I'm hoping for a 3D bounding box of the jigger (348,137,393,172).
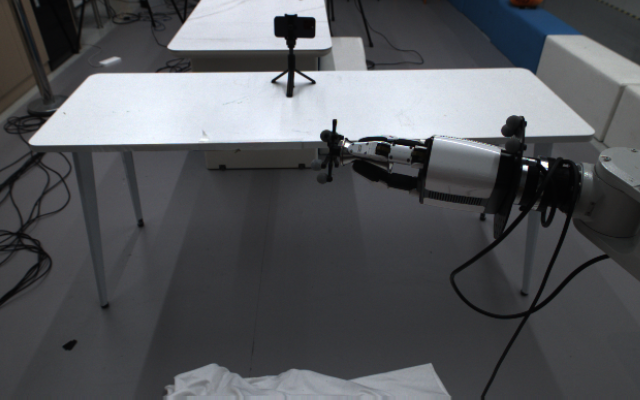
[{"bbox_3d":[0.071,-0.067,0.664,0.071,0.043,0.043,7,35,16],"label":"jigger"}]
